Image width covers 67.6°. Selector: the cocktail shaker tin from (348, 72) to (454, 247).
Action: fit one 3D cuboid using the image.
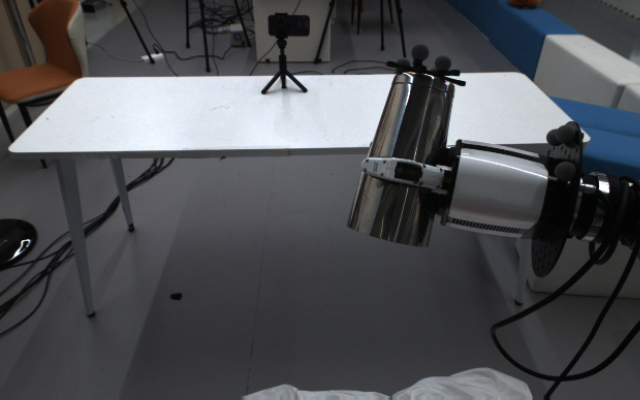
[{"bbox_3d":[0.094,-0.044,0.523,0.093,0.170,0.093,13,4,-1],"label":"cocktail shaker tin"}]
